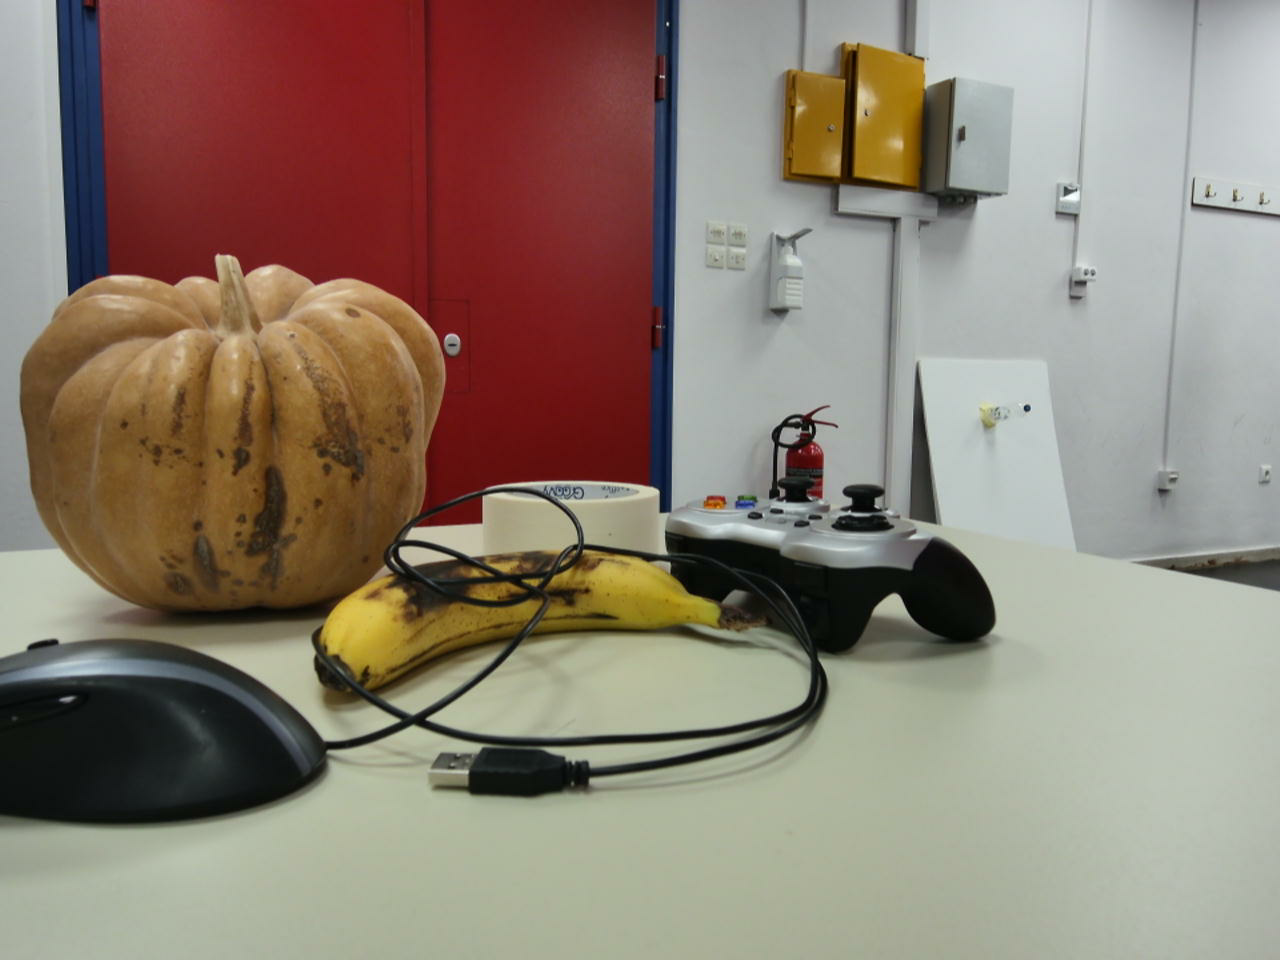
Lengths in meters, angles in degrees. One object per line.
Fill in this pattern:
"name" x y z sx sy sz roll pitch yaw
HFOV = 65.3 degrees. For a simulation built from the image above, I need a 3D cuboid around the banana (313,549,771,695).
"banana" -0.049 0.054 0.426 0.187 0.039 0.094 -3 5 -28
